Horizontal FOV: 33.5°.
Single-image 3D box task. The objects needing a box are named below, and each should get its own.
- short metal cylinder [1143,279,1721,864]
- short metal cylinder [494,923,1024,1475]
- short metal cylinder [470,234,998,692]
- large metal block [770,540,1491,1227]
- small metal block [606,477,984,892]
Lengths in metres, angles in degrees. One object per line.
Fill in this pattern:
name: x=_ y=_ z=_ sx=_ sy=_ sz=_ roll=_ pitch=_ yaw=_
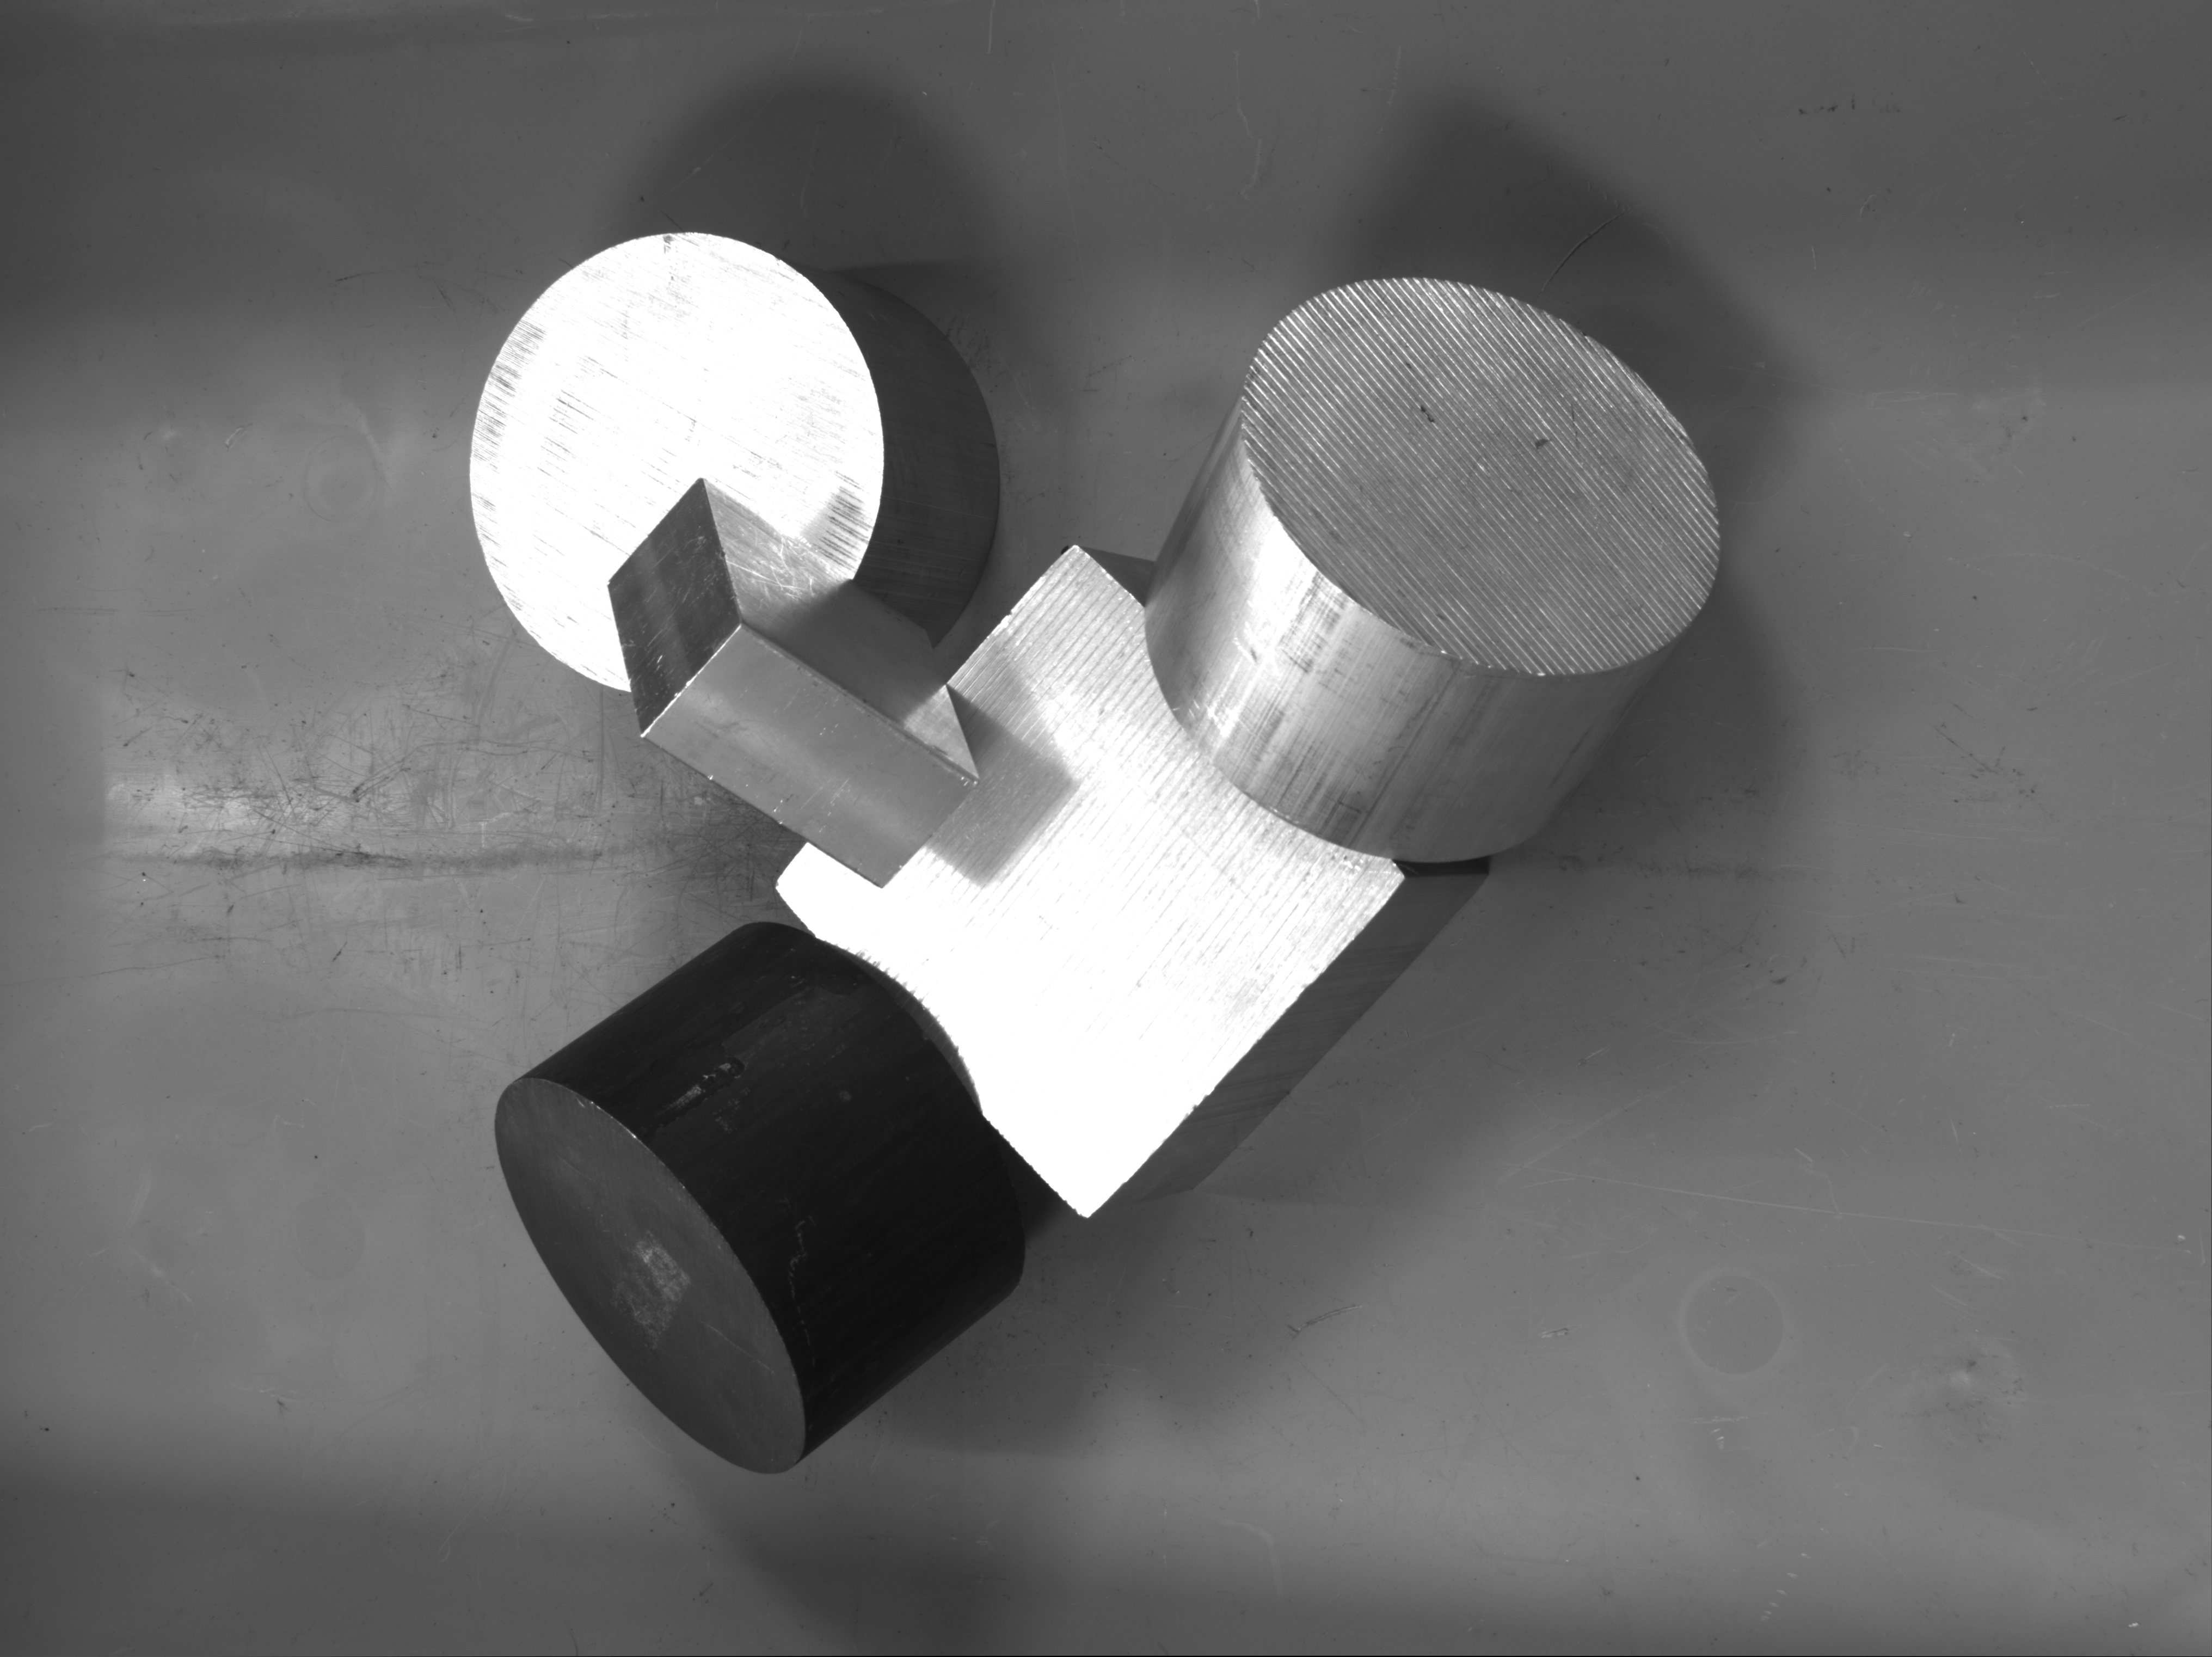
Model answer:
short metal cylinder: x=0.051 y=-0.041 z=0.590 sx=0.080 sy=0.080 sz=0.050 roll=45 pitch=143 yaw=15
short metal cylinder: x=-0.060 y=0.063 z=0.632 sx=0.080 sy=0.050 sz=0.080 roll=35 pitch=146 yaw=29
short metal cylinder: x=-0.066 y=-0.062 z=0.657 sx=0.080 sy=0.050 sz=0.080 roll=0 pitch=90 yaw=20
large metal block: x=0.005 y=0.009 z=0.628 sx=0.080 sy=0.050 sz=0.080 roll=46 pitch=104 yaw=14
small metal block: x=-0.051 y=-0.024 z=0.598 sx=0.025 sy=0.050 sz=0.050 roll=-47 pitch=32 yaw=16
